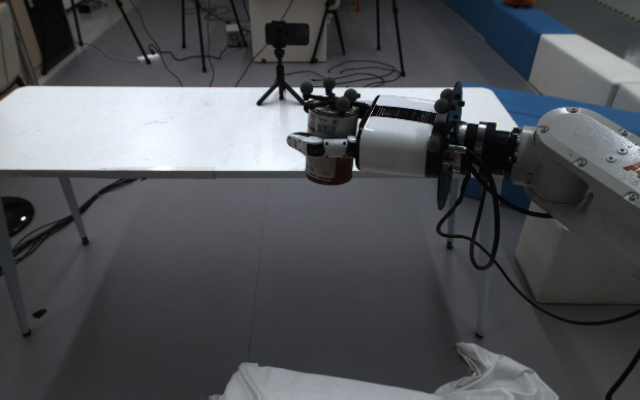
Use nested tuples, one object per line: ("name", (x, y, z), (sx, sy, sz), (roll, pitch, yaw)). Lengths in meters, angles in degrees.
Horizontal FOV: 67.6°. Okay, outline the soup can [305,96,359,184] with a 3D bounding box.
("soup can", (0.016, -0.079, 0.653), (0.067, 0.101, 0.067), (4, 30, -2))
